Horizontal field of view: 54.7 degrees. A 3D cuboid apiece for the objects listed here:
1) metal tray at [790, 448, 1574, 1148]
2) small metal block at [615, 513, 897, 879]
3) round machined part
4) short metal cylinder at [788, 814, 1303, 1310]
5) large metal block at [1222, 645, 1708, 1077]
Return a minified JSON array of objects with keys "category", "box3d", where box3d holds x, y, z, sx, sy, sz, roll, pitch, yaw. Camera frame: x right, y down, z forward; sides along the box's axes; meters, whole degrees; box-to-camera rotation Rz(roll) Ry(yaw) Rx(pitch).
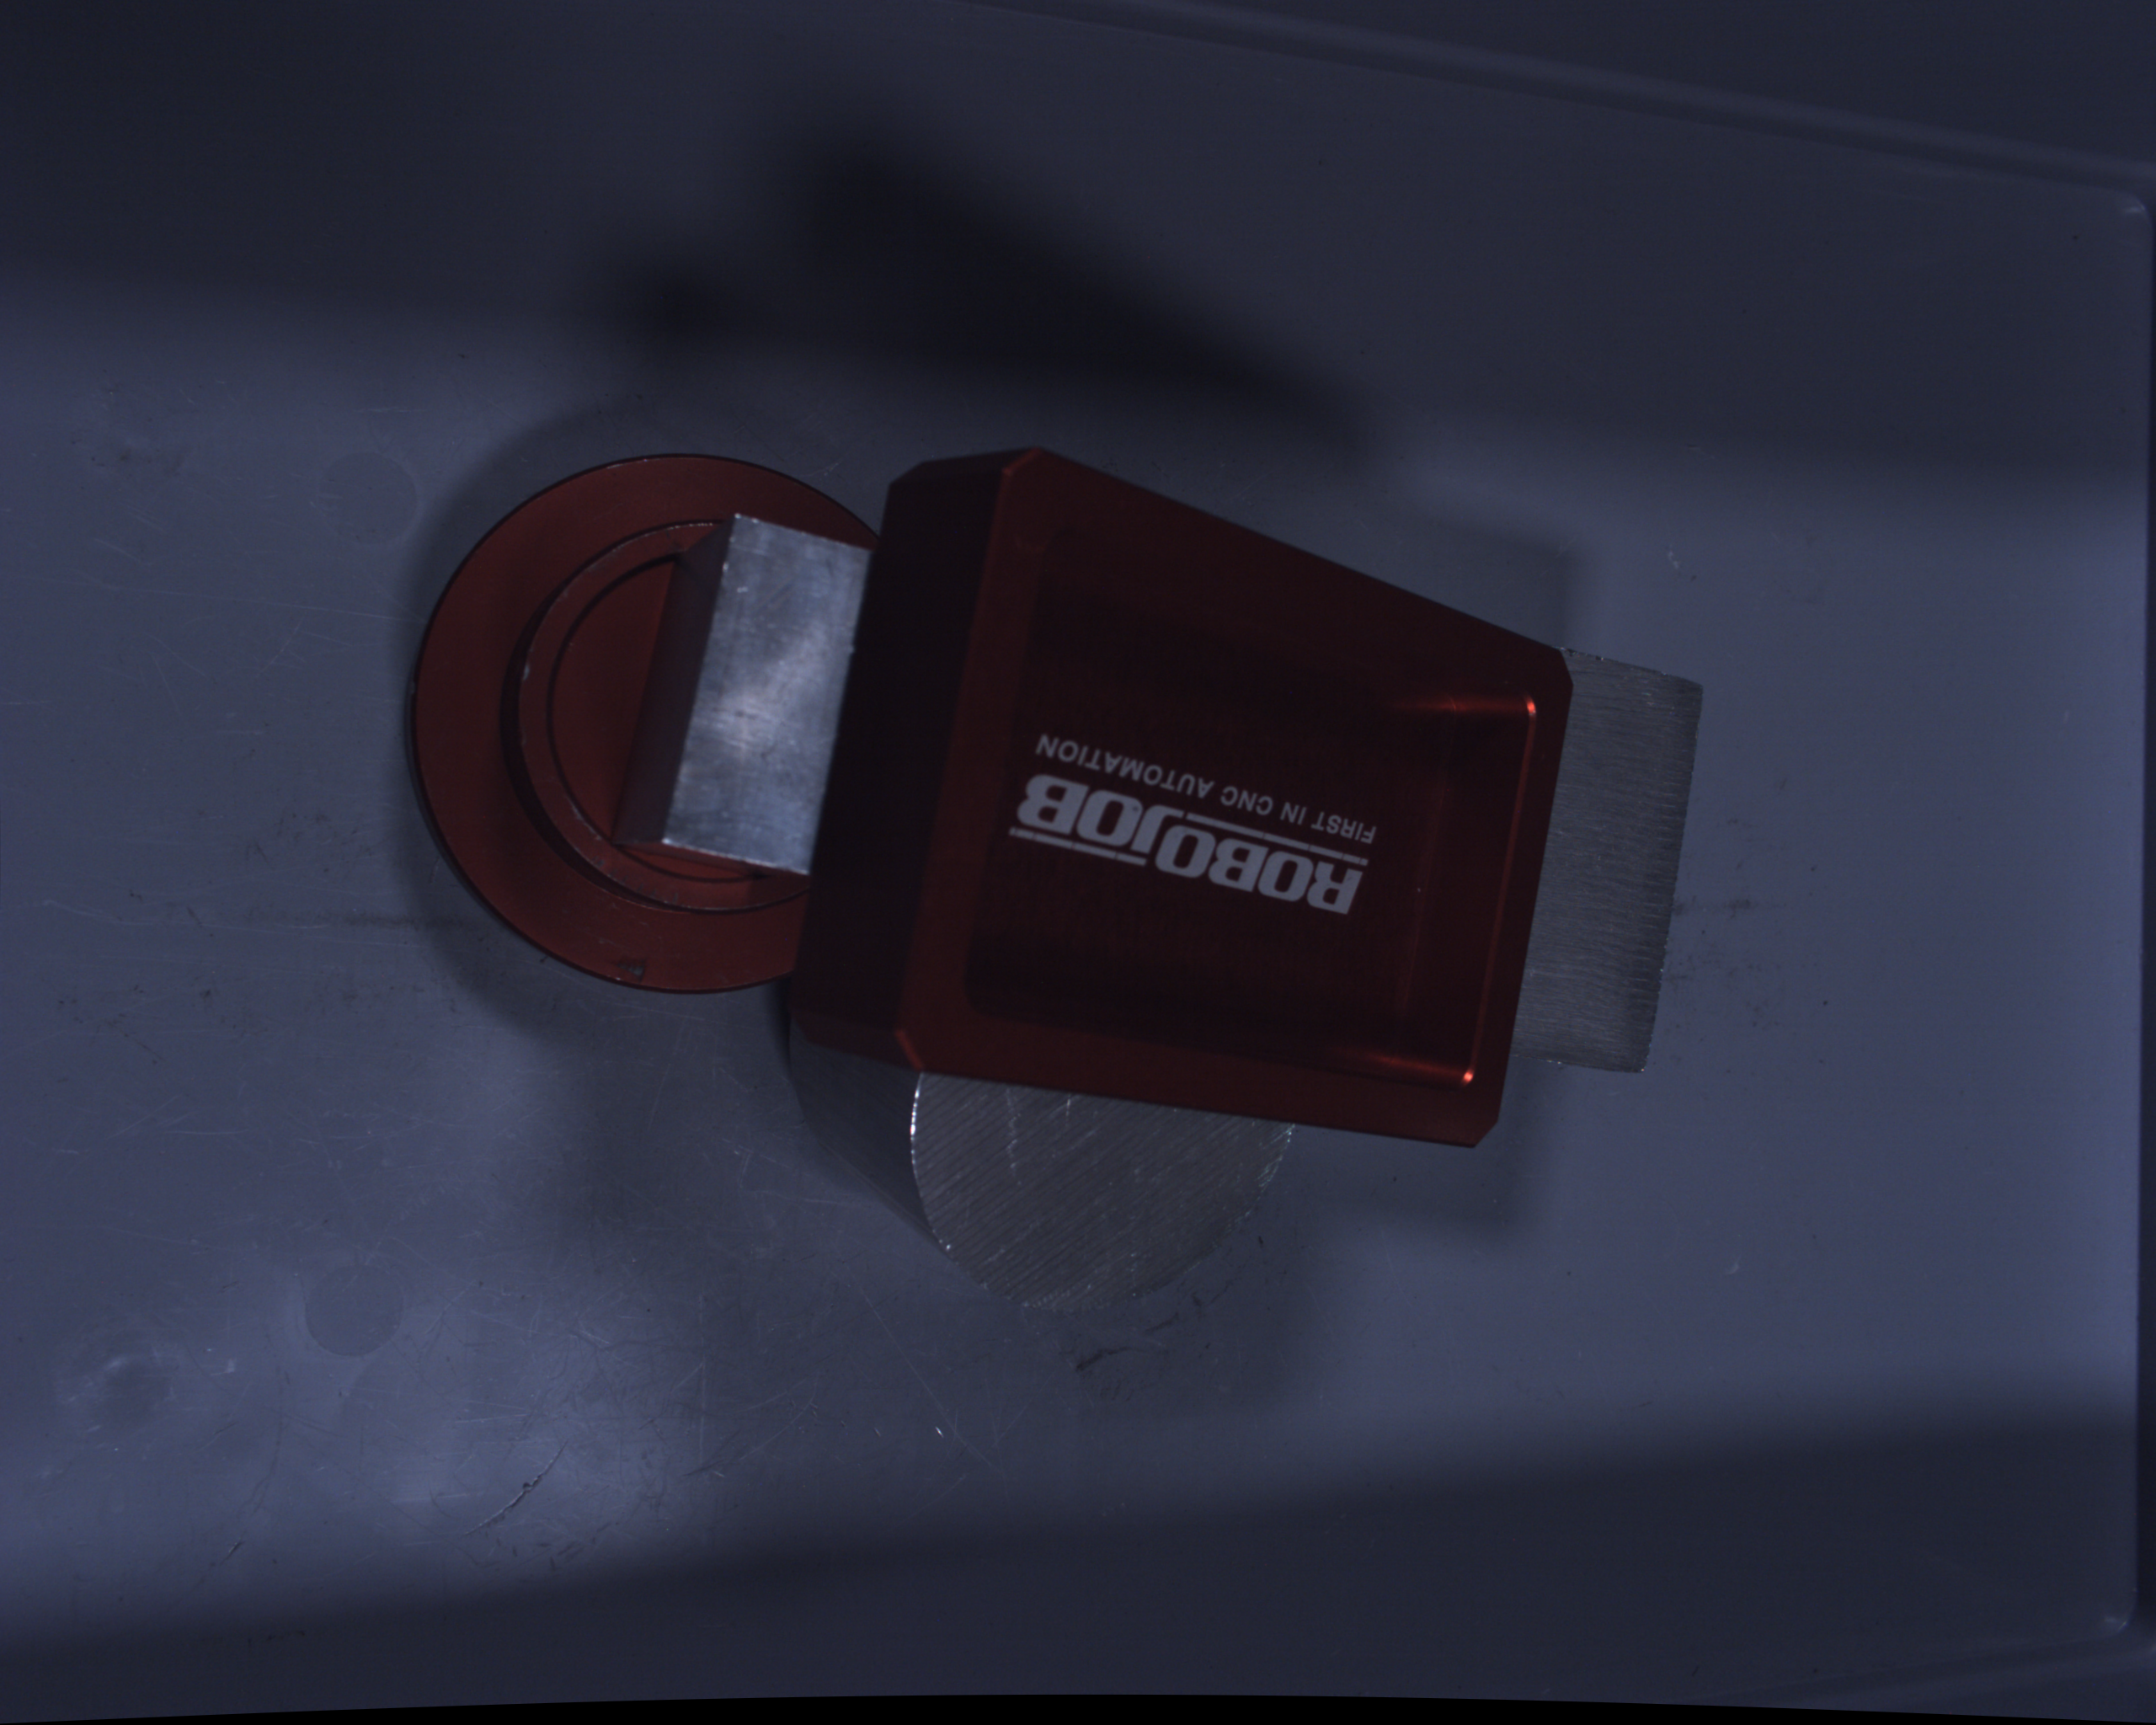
[{"category":"metal tray","box3d":[0.023,-0.005,0.341,0.131,0.030,0.090,13,86,-39]},{"category":"small metal block","box3d":[-0.052,-0.025,0.332,0.025,0.050,0.050,13,86,-20]},{"category":"round machined part","box3d":[-0.068,-0.025,0.375,0.099,0.042,0.097,0,90,-21]},{"category":"short metal cylinder","box3d":[-0.006,0.035,0.382,0.081,0.050,0.079,-9,108,-30]},{"category":"large metal block","box3d":[0.073,-0.004,0.423,0.081,0.050,0.080,11,87,-20]}]
